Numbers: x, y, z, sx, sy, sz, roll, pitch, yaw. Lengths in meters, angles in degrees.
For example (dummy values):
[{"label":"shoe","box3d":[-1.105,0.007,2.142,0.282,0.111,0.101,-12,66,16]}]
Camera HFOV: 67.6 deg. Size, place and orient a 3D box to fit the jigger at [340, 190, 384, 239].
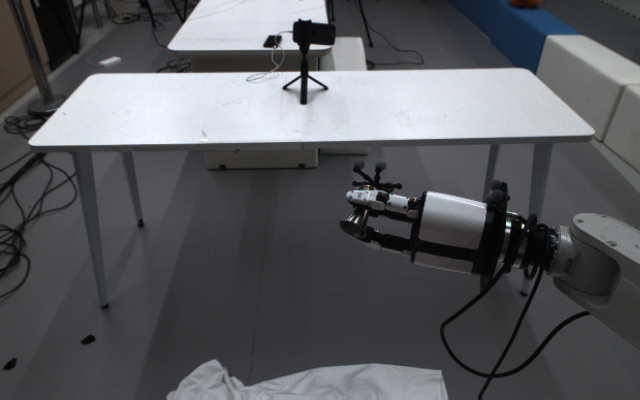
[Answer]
[{"label":"jigger","box3d":[0.061,0.012,0.709,0.043,0.043,0.071,19,61,23]}]
